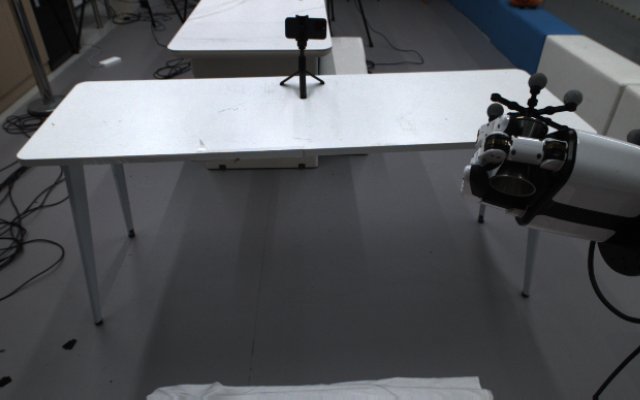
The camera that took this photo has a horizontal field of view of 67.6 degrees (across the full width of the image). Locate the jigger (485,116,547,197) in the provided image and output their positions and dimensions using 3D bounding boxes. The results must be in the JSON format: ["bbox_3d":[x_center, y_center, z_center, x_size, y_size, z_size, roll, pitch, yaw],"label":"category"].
[{"bbox_3d":[0.200,-0.045,0.481,0.043,0.043,0.071,15,70,18],"label":"jigger"}]
